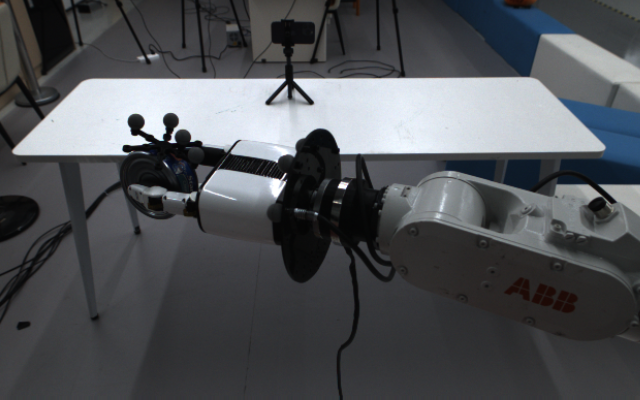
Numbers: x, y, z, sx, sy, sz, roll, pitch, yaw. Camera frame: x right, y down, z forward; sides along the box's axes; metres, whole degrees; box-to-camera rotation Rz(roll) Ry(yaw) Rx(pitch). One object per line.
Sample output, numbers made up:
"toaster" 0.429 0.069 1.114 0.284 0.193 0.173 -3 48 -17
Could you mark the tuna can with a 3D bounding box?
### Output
"tuna can" -0.181 -0.015 0.552 0.085 0.085 0.034 15 31 18
